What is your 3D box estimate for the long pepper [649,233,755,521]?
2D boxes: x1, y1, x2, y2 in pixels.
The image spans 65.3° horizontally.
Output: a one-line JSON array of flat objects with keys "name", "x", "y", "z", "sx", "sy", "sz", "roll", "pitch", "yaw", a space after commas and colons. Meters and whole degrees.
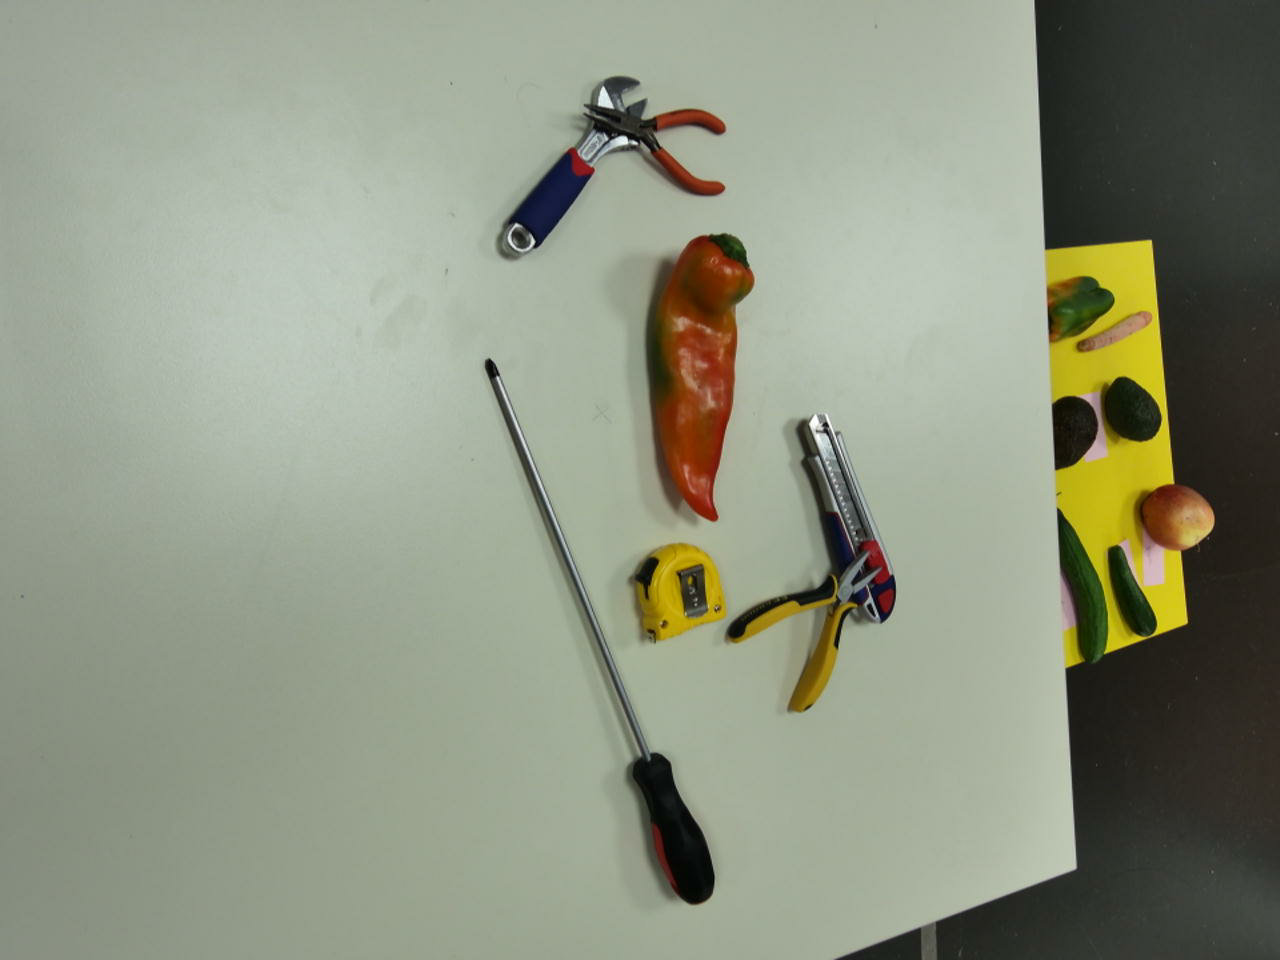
[{"name": "long pepper", "x": 0.047, "y": -0.070, "z": 0.694, "sx": 0.066, "sy": 0.065, "sz": 0.199, "roll": 1, "pitch": 90, "yaw": -28}]
